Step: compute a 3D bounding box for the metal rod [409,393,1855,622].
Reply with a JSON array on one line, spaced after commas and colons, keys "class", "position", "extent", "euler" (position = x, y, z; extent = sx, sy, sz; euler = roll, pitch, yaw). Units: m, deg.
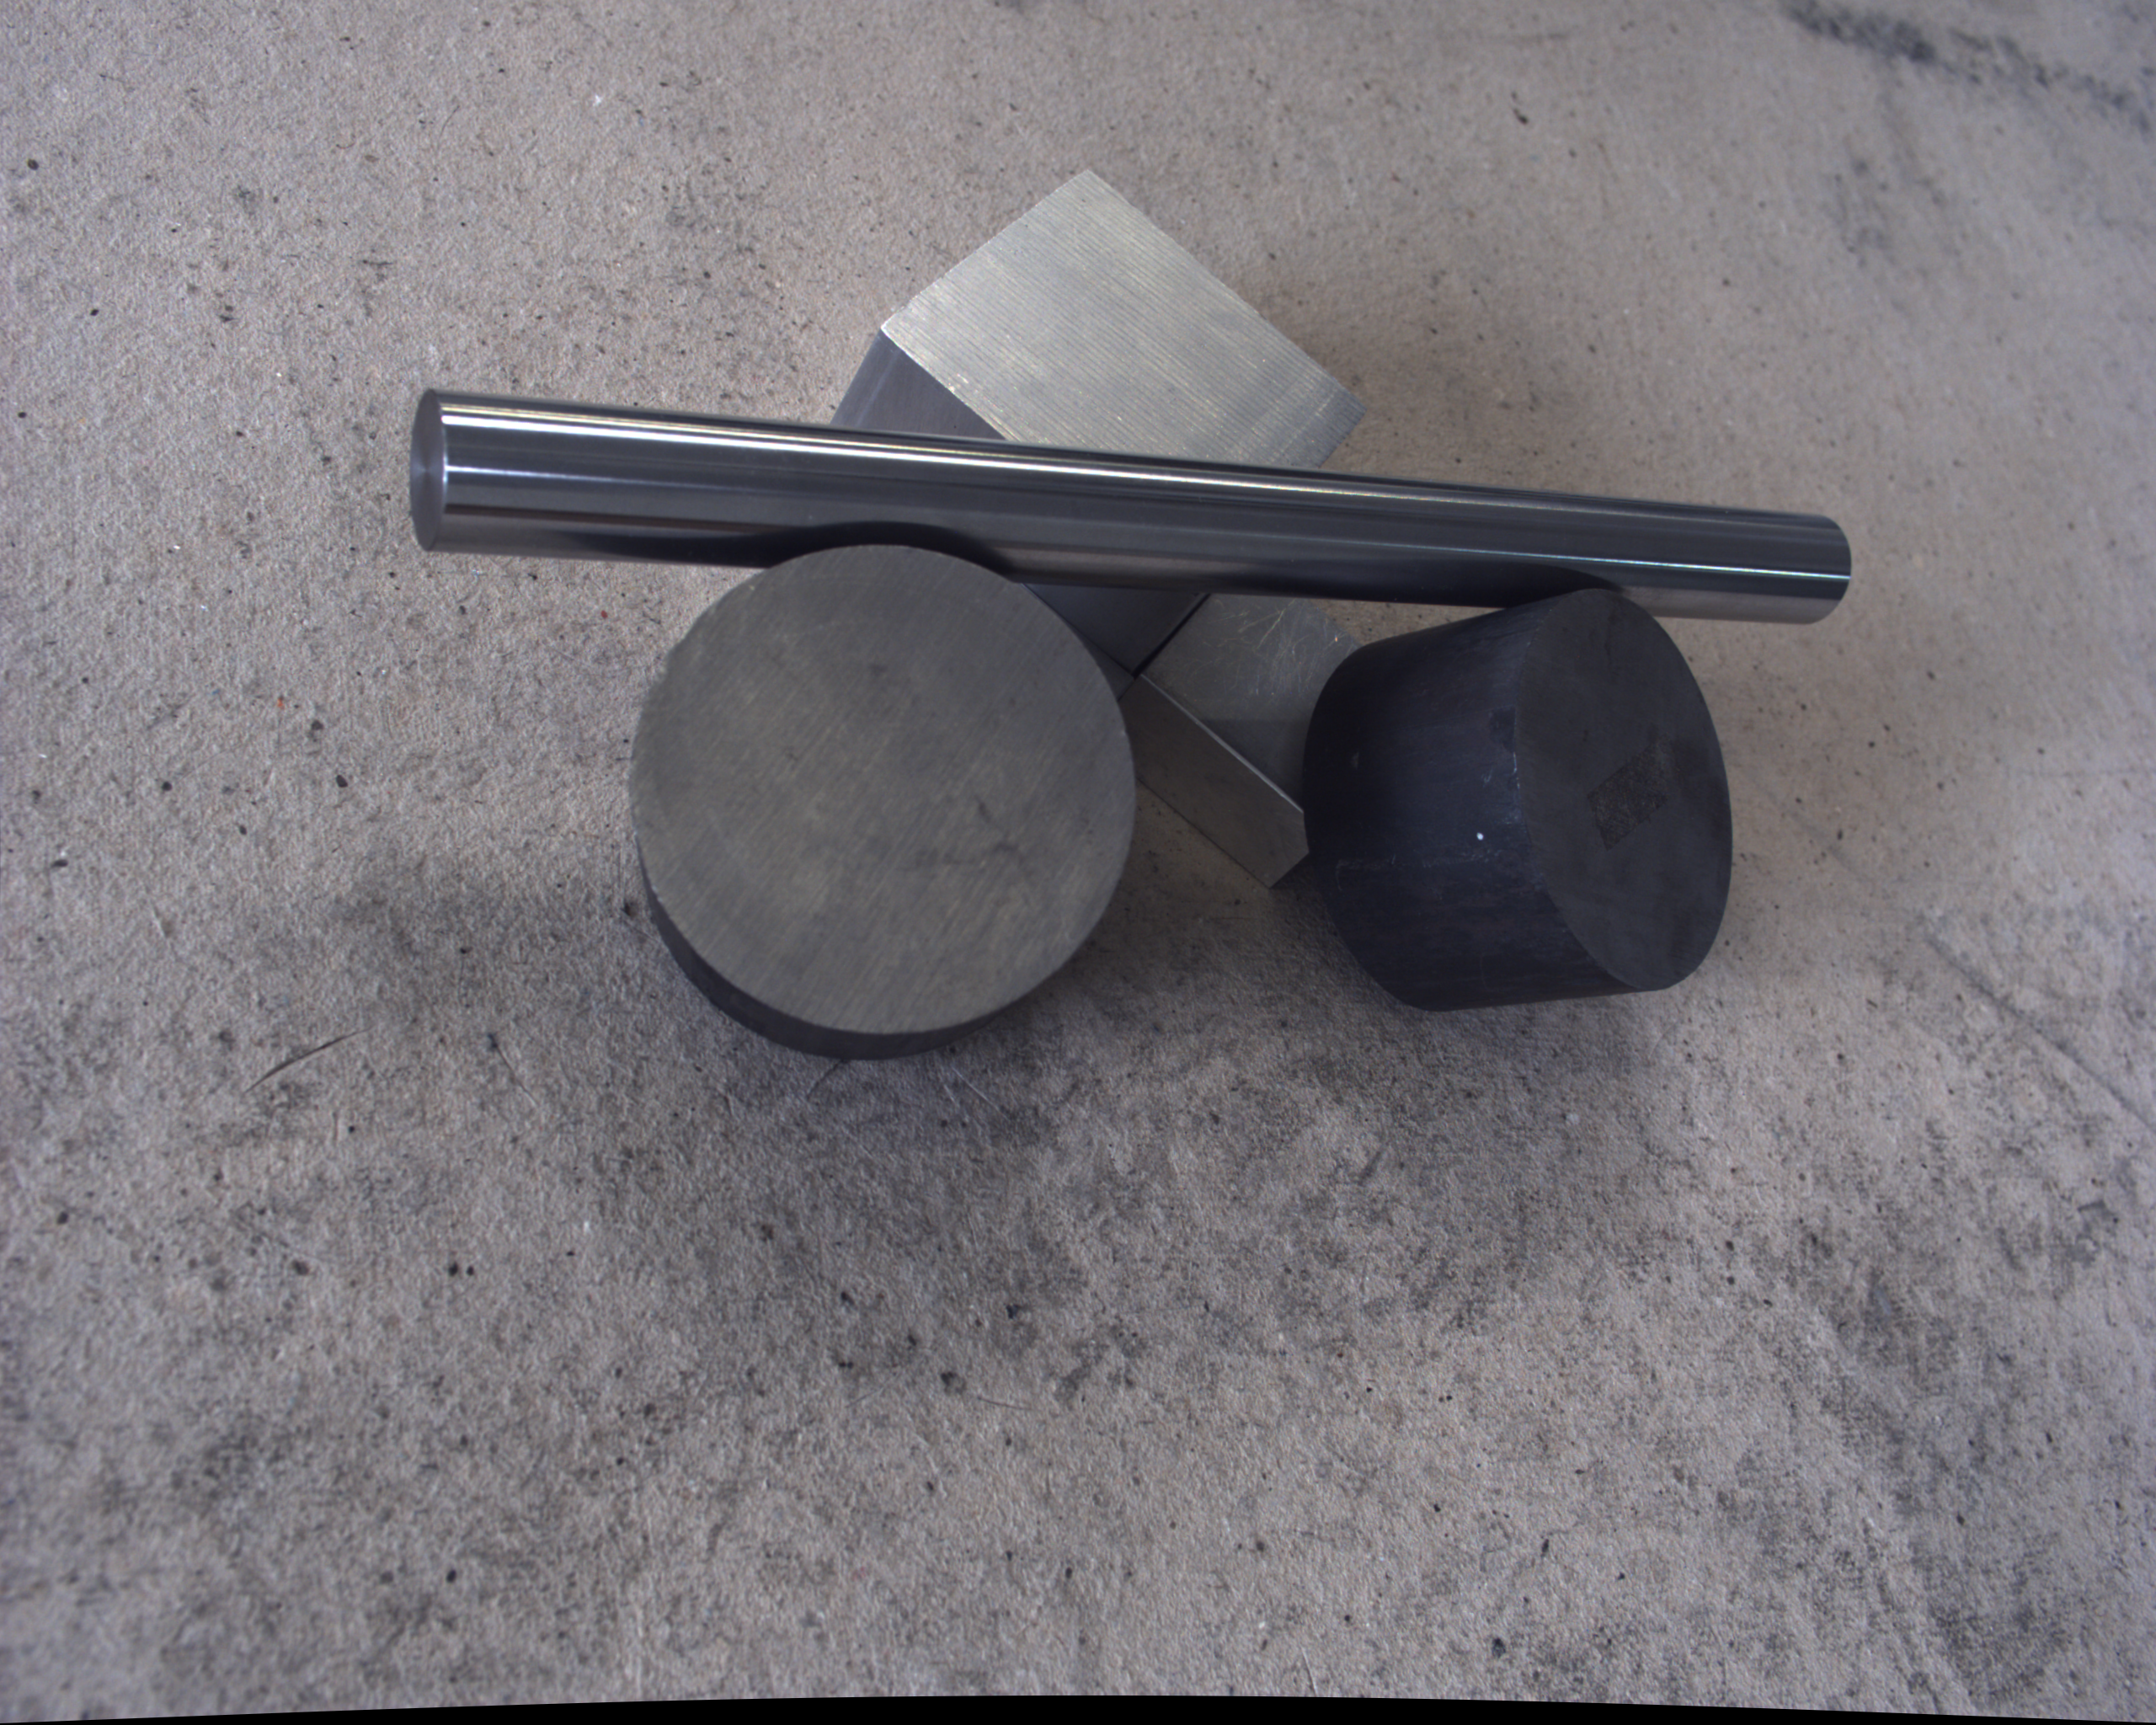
[{"class": "metal rod", "position": [0.032, -0.063, 0.394], "extent": [0.303, 0.025, 0.025], "euler": [-1, 63, -29]}]

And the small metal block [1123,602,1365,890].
[{"class": "small metal block", "position": [0.040, -0.031, 0.445], "extent": [0.050, 0.025, 0.050], "euler": [40, 51, -1]}]

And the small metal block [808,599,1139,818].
[{"class": "small metal block", "position": [-0.025, -0.033, 0.412], "extent": [0.050, 0.025, 0.050], "euler": [40, 50, -1]}]

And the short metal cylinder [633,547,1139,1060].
[{"class": "short metal cylinder", "position": [-0.034, -0.008, 0.357], "extent": [0.081, 0.050, 0.080], "euler": [2, 79, -10]}]

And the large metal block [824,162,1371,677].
[{"class": "large metal block", "position": [0.002, -0.089, 0.442], "extent": [0.080, 0.050, 0.080], "euler": [41, 51, -1]}]

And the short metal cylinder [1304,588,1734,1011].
[{"class": "short metal cylinder", "position": [0.091, -0.011, 0.427], "extent": [0.081, 0.050, 0.080], "euler": [13, 72, -44]}]
